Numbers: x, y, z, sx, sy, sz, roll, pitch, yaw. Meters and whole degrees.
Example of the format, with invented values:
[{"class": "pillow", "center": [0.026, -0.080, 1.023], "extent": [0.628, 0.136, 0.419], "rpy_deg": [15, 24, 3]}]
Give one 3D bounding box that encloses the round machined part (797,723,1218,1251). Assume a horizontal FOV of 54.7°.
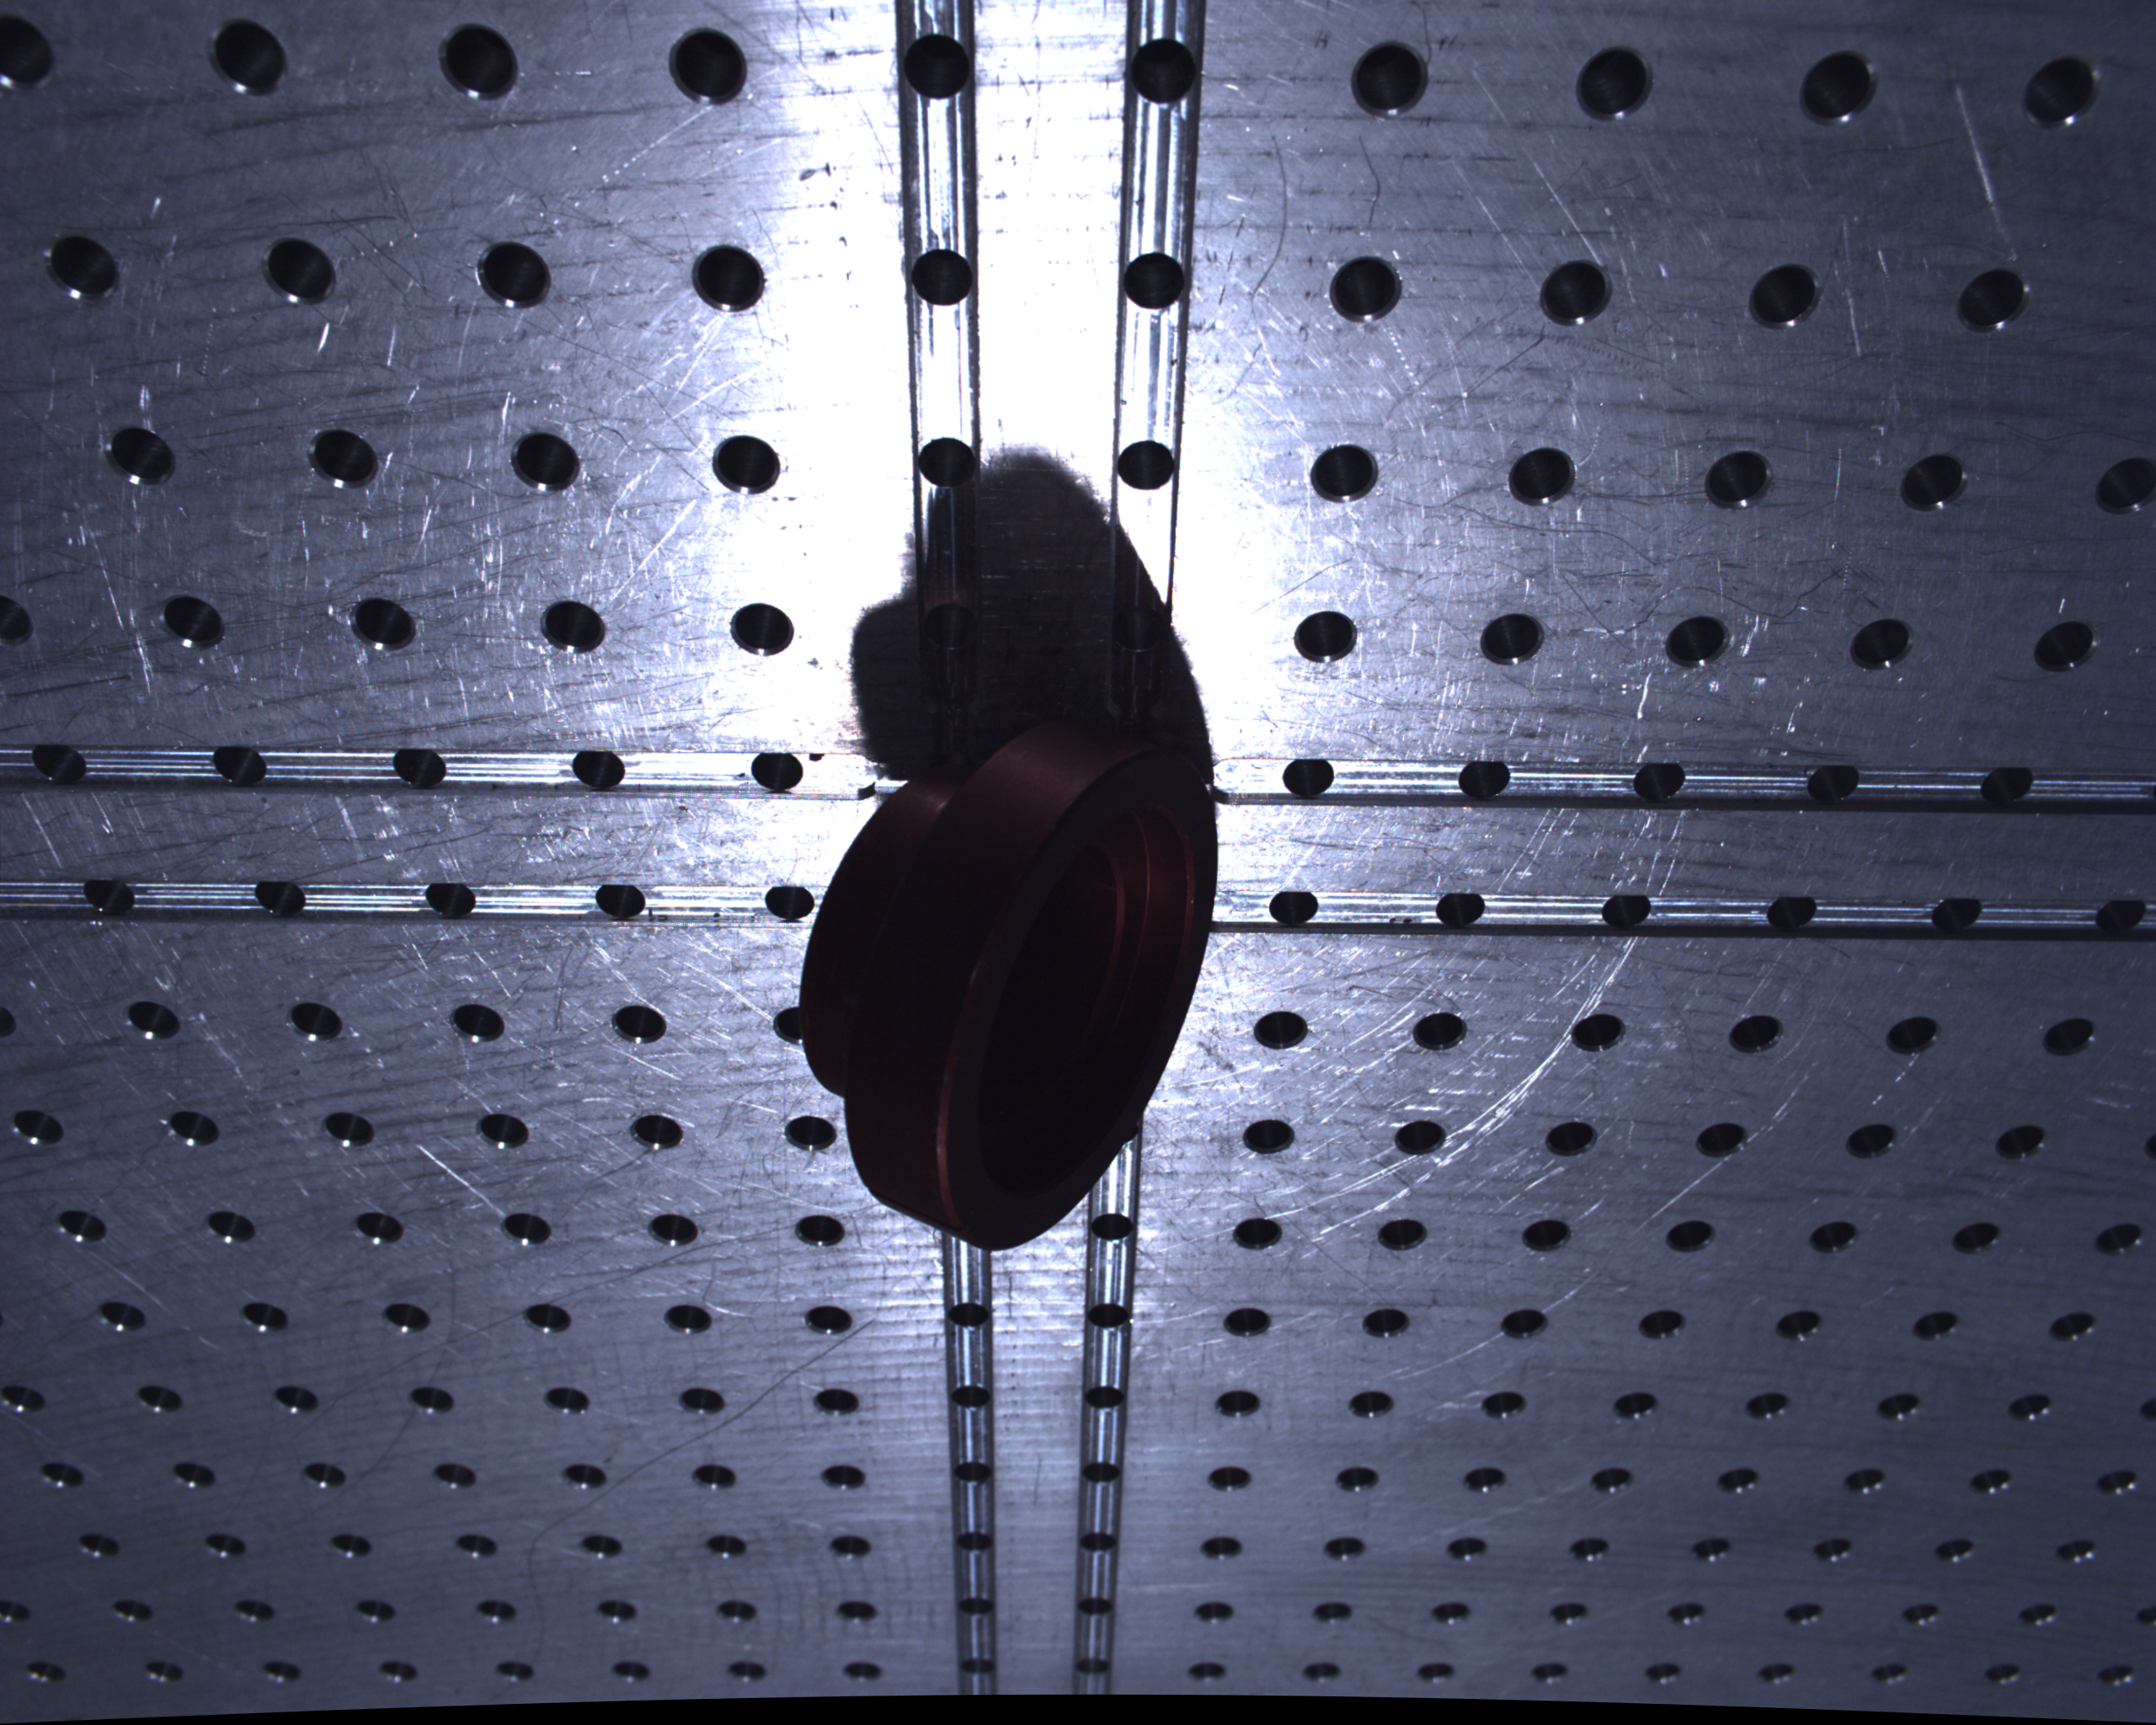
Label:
[{"class": "round machined part", "center": [-0.015, 0.020, 0.392], "extent": [0.042, 0.098, 0.097], "rpy_deg": [20, 135, 25]}]
